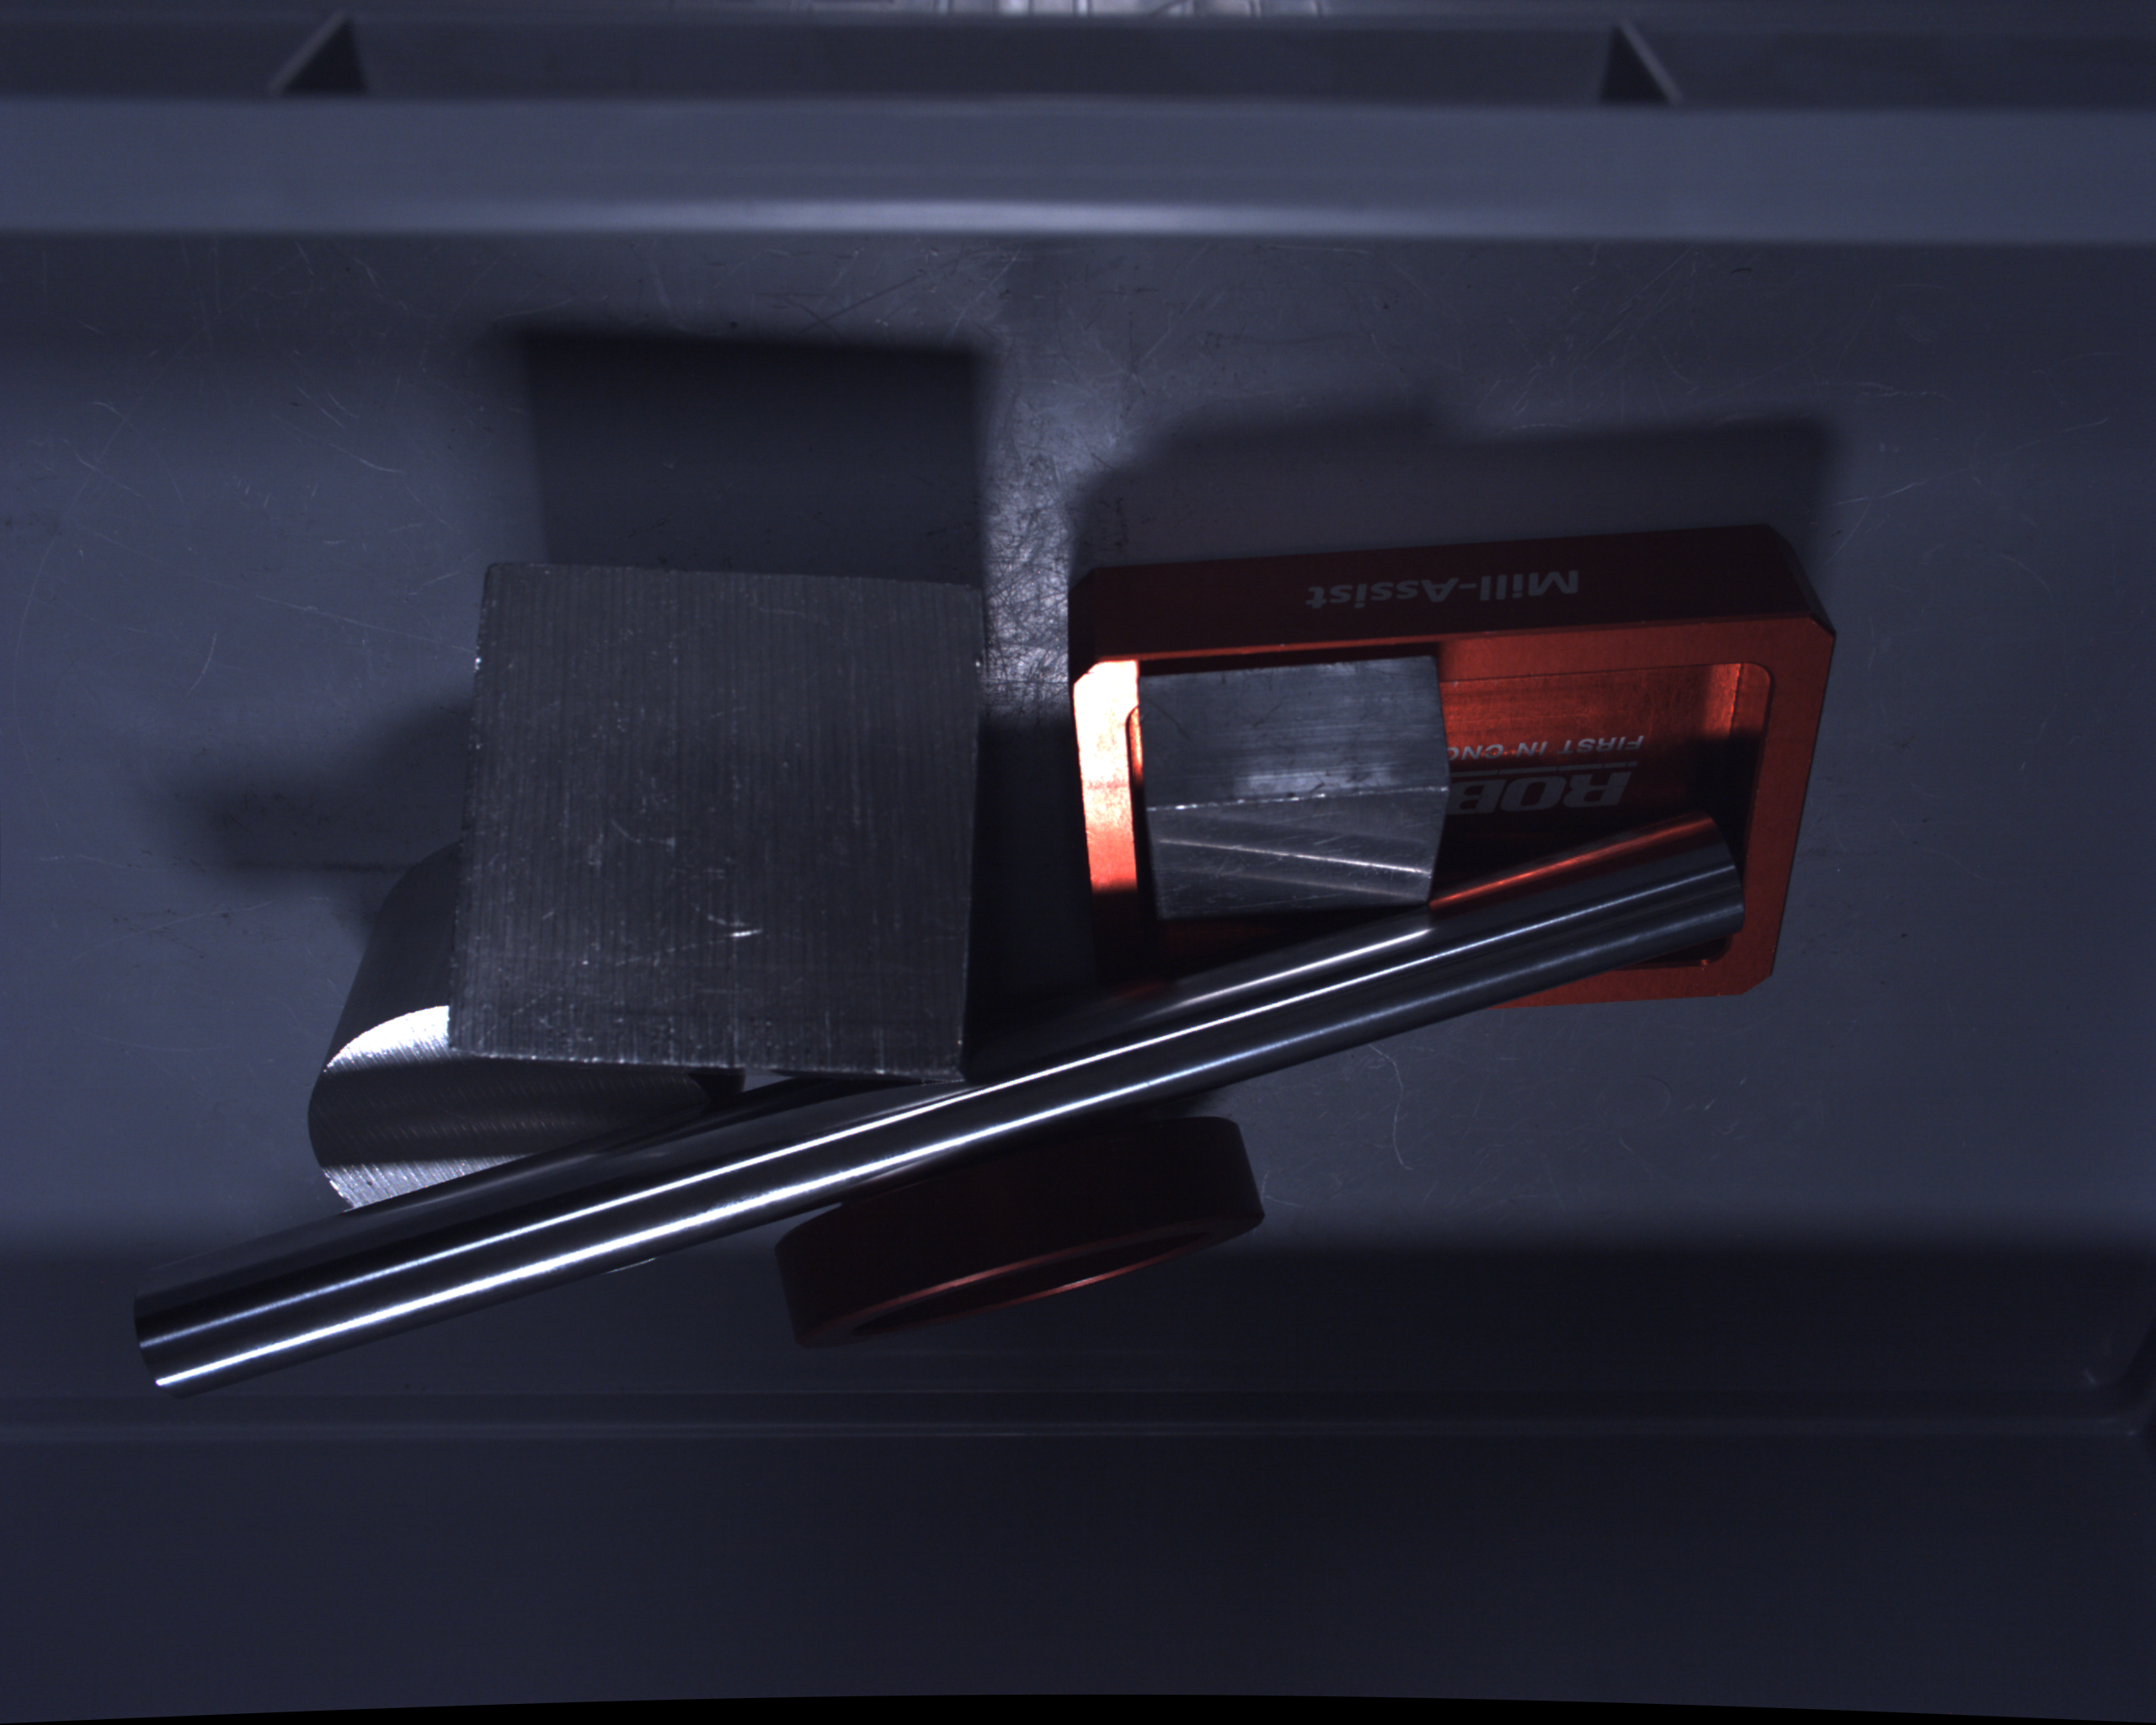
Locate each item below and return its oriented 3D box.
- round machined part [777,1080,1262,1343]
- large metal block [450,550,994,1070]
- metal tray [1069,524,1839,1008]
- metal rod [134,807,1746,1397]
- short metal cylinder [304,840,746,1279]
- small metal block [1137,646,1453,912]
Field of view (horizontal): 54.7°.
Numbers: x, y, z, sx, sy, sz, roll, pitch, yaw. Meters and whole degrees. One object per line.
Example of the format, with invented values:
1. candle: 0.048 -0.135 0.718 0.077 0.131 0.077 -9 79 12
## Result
1. round machined part: -0.015 0.067 0.432 0.099 0.042 0.098 -14 164 -4
2. large metal block: -0.056 -0.006 0.355 0.081 0.080 0.050 3 172 -2
3. metal tray: 0.067 -0.014 0.392 0.131 0.030 0.089 -4 130 2
4. metal rod: -0.024 0.044 0.390 0.302 0.025 0.025 -16 129 -1
5. short metal cylinder: -0.108 0.040 0.422 0.081 0.050 0.079 0 130 0
6. small metal block: 0.037 -0.014 0.368 0.050 0.025 0.050 -3 156 3
